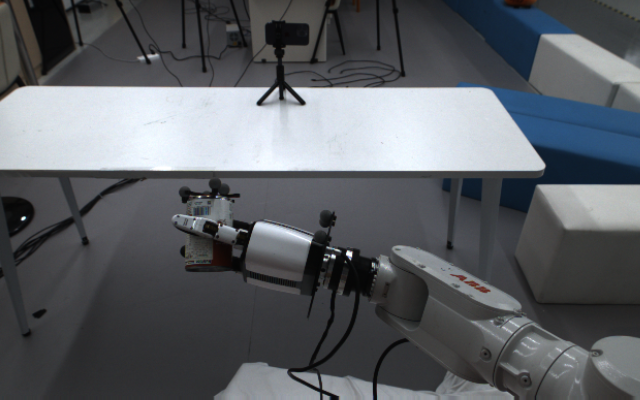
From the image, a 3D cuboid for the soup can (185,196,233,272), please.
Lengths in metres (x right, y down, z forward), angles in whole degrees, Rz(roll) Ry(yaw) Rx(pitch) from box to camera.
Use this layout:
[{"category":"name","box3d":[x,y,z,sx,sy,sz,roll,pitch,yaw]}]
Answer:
[{"category":"soup can","box3d":[-0.157,0.051,0.691,0.067,0.067,0.101,-1,77,-5]}]
